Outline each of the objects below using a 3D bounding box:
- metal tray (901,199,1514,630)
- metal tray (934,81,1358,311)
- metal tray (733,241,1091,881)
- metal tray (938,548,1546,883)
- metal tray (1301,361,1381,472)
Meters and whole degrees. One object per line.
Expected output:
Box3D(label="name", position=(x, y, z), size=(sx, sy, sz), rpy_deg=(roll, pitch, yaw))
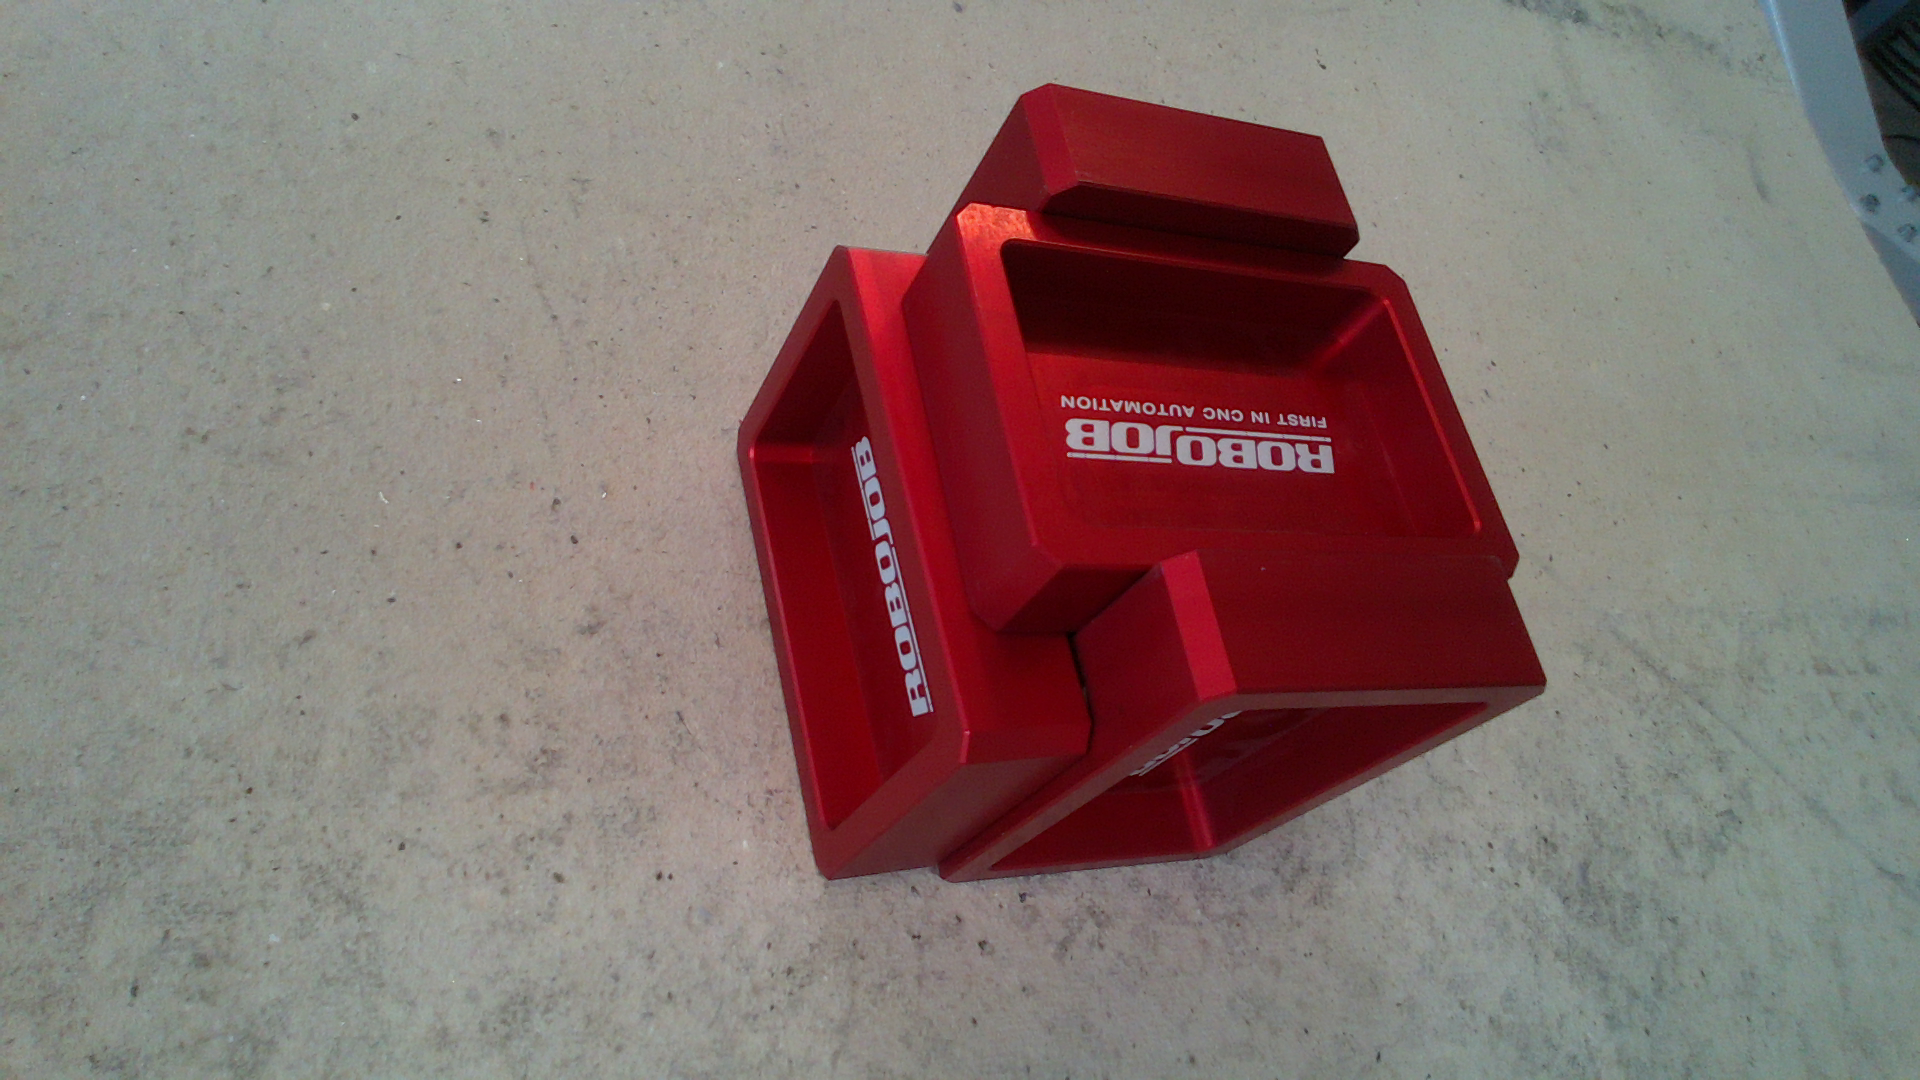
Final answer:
Box3D(label="metal tray", position=(0.058, -0.026, 0.318), size=(0.130, 0.030, 0.090), rpy_deg=(2, 61, -27))
Box3D(label="metal tray", position=(0.032, -0.060, 0.376), size=(0.090, 0.130, 0.030), rpy_deg=(2, 60, -27))
Box3D(label="metal tray", position=(-0.018, 0.006, 0.334), size=(0.030, 0.090, 0.130), rpy_deg=(0, 62, -29))
Box3D(label="metal tray", position=(0.057, 0.046, 0.325), size=(0.090, 0.130, 0.030), rpy_deg=(1, 62, -27))
Box3D(label="metal tray", position=(0.094, 0.001, 0.398), size=(0.030, 0.090, 0.130), rpy_deg=(1, 60, -27))
